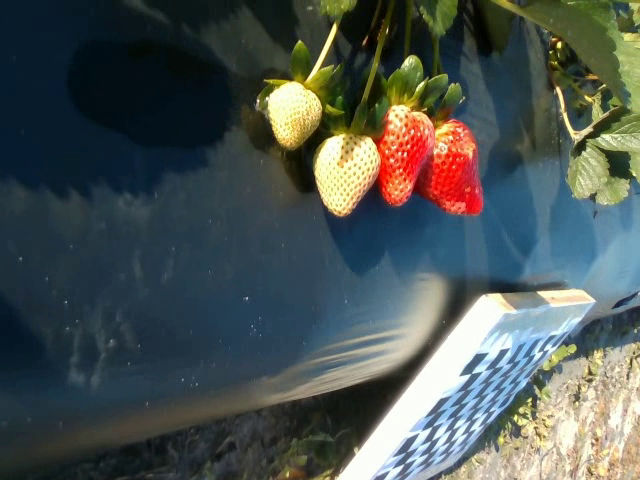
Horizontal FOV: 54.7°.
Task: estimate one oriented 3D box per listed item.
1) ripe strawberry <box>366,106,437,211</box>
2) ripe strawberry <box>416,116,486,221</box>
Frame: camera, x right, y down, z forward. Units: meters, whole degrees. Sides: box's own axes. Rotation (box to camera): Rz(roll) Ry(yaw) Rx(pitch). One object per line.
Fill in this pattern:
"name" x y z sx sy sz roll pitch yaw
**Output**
"ripe strawberry" 0.040 -0.043 0.310 0.043 0.061 0.051 -2 -20 18
"ripe strawberry" 0.076 -0.039 0.350 0.056 0.067 0.051 -36 6 -15
